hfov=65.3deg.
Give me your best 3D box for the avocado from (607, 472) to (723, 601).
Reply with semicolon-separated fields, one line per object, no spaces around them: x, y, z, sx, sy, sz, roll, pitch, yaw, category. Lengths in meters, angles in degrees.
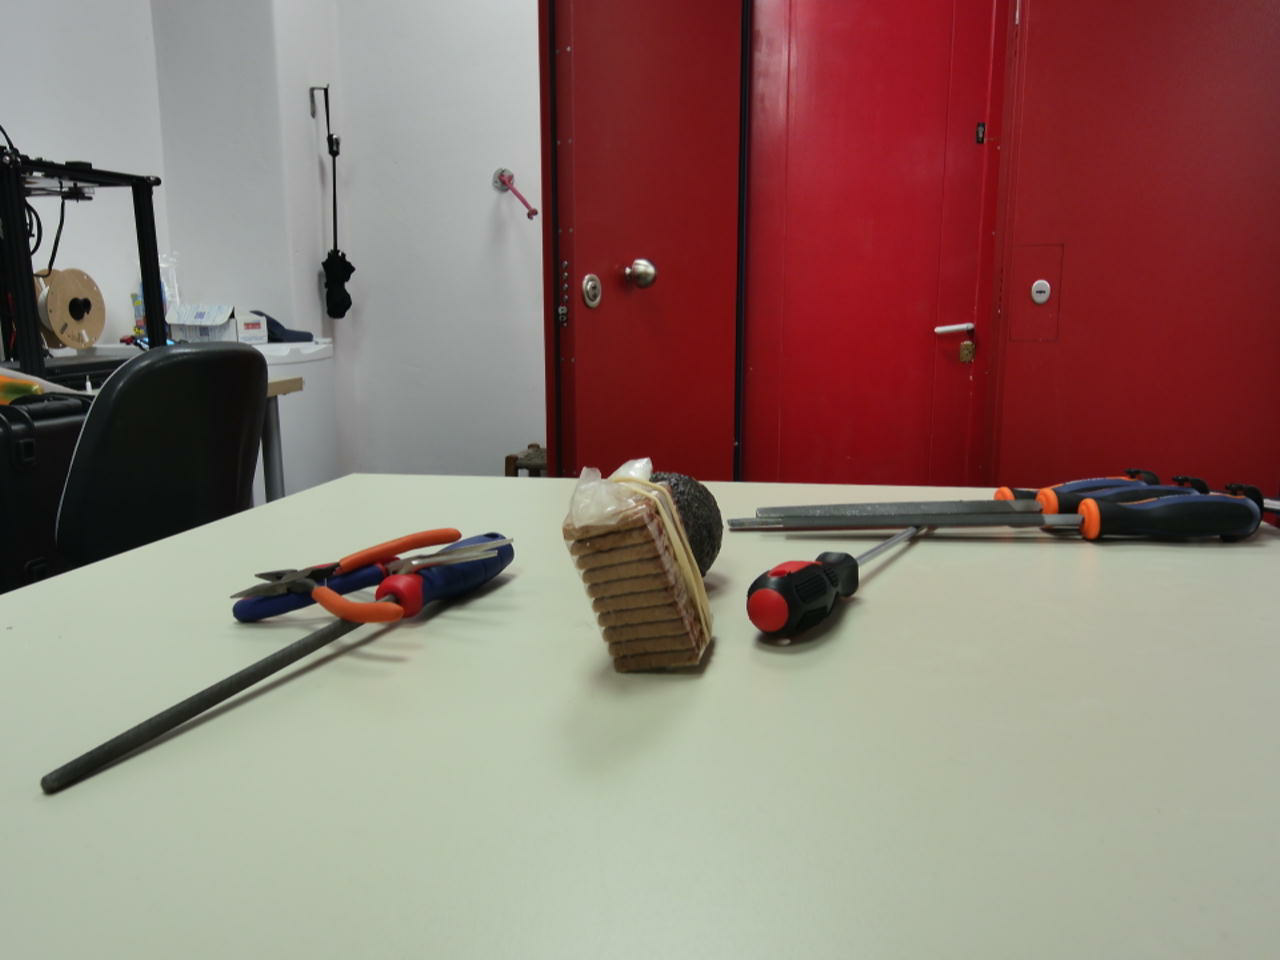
0.012;0.030;0.593;0.070;0.069;0.090;7;9;36;avocado
